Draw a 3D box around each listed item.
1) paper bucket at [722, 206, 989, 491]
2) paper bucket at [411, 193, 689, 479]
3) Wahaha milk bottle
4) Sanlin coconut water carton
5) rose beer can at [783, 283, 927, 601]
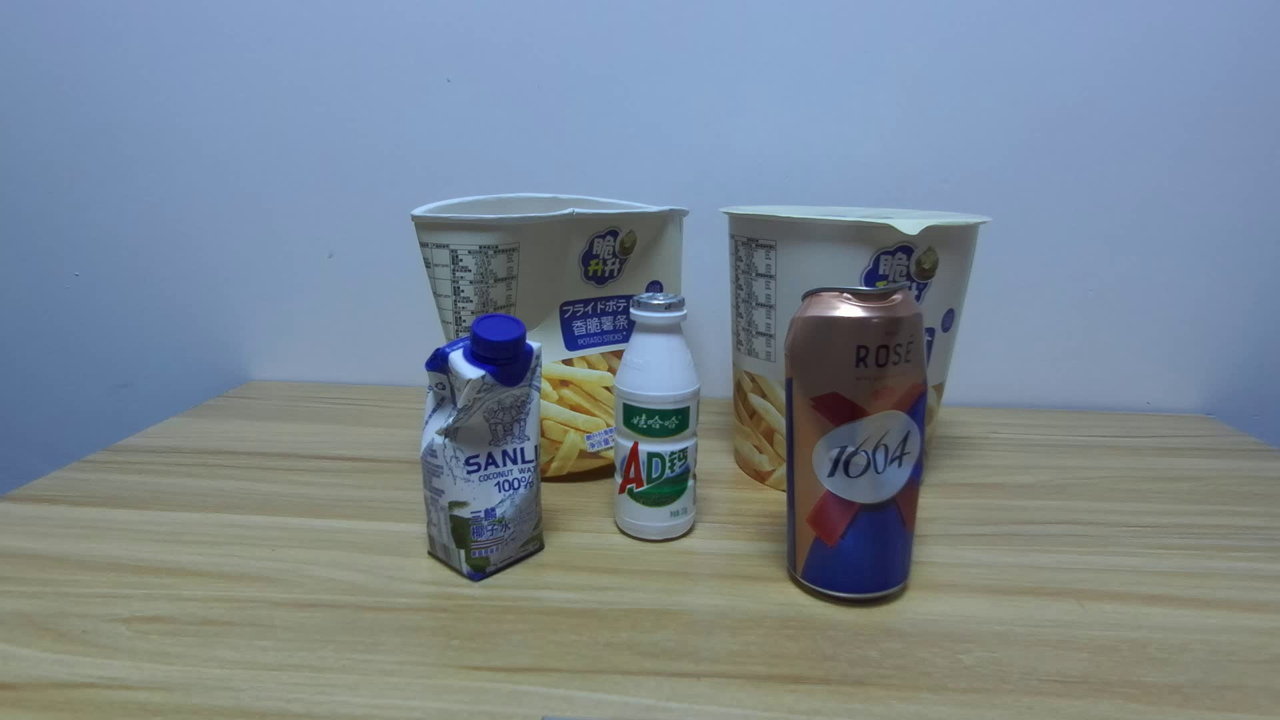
[{"bbox_3d":[0.150,-0.014,0.534,0.198,0.194,0.198,1,15,0],"label":"paper bucket"},{"bbox_3d":[-0.054,-0.024,0.550,0.147,0.199,0.218,6,15,19],"label":"paper bucket"},{"bbox_3d":[0.011,0.034,0.429,0.053,0.147,0.053,2,15,0],"label":"Wahaha milk bottle"},{"bbox_3d":[-0.090,0.045,0.396,0.069,0.143,0.061,15,20,41],"label":"Sanlin coconut water carton"},{"bbox_3d":[0.115,0.043,0.376,0.069,0.168,0.069,3,13,20],"label":"rose beer can"}]
